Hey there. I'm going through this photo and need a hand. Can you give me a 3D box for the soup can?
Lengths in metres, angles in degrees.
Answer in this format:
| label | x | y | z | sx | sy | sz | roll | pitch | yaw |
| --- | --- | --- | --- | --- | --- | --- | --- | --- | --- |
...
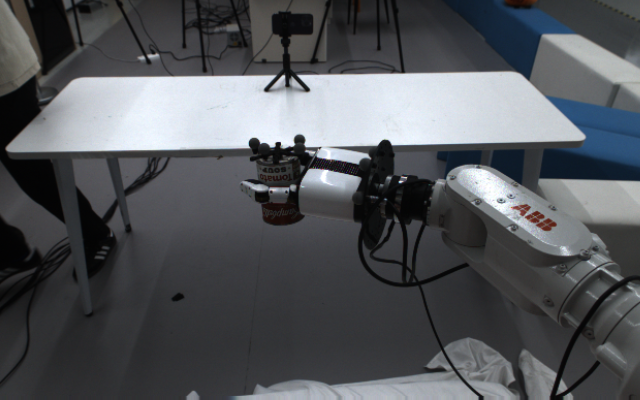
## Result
| label | x | y | z | sx | sy | sz | roll | pitch | yaw |
| --- | --- | --- | --- | --- | --- | --- | --- | --- | --- |
| soup can | -0.060 | -0.021 | 0.742 | 0.067 | 0.101 | 0.067 | -3 | 25 | 2 |
